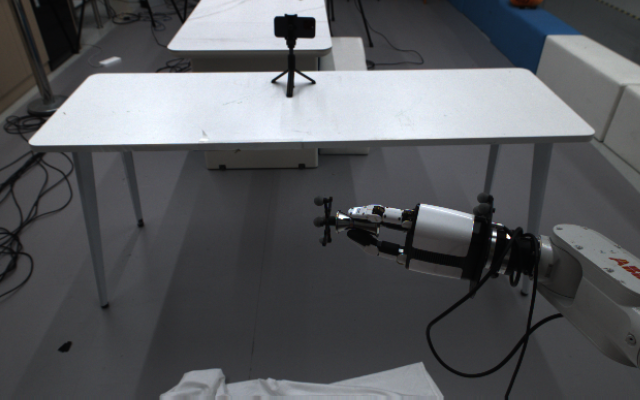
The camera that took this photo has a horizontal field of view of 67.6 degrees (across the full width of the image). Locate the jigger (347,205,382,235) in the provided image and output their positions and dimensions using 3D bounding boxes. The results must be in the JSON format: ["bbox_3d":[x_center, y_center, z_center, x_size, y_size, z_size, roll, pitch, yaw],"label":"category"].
[{"bbox_3d":[0.069,0.033,0.792,0.071,0.043,0.043,2,34,12],"label":"jigger"}]
